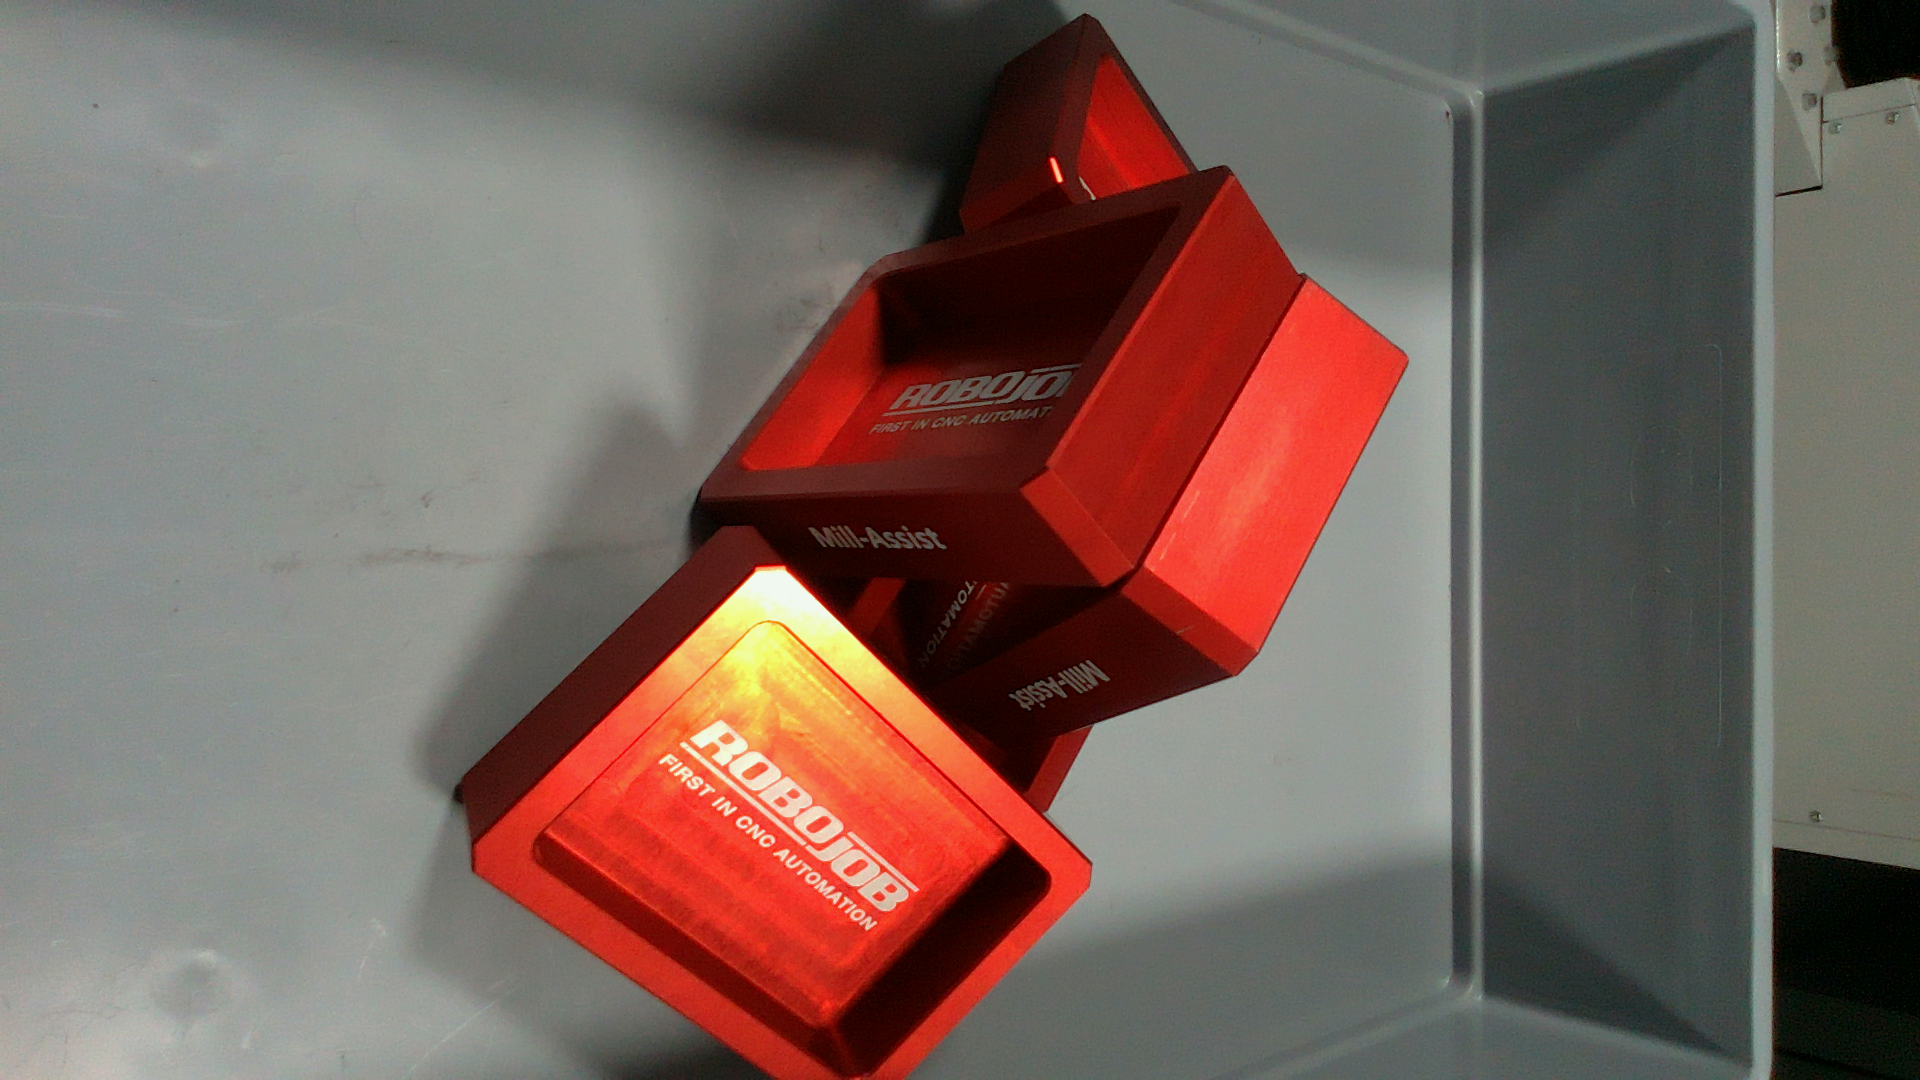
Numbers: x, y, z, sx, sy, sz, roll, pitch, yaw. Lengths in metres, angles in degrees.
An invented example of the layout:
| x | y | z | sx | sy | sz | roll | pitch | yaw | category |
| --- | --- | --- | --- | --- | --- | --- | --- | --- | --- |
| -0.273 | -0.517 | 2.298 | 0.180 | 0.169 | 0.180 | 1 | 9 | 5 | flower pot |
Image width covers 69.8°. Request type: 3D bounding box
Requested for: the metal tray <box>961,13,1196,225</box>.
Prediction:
| x | y | z | sx | sy | sz | roll | pitch | yaw | category |
| --- | --- | --- | --- | --- | --- | --- | --- | --- | --- |
| 0.057 | -0.079 | 0.409 | 0.130 | 0.030 | 0.090 | 46 | 37 | -30 | metal tray |

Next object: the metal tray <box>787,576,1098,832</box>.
| x | y | z | sx | sy | sz | roll | pitch | yaw | category |
| --- | --- | --- | --- | --- | --- | --- | --- | --- | --- |
| 0.013 | 0.009 | 0.395 | 0.090 | 0.030 | 0.130 | 47 | 62 | -30 | metal tray |

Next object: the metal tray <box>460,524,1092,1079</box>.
| x | y | z | sx | sy | sz | roll | pitch | yaw | category |
| --- | --- | --- | --- | --- | --- | --- | --- | --- | --- |
| -0.039 | 0.071 | 0.329 | 0.090 | 0.030 | 0.130 | -45 | 120 | -3 | metal tray |

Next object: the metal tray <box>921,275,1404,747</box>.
| x | y | z | sx | sy | sz | roll | pitch | yaw | category |
| --- | --- | --- | --- | --- | --- | --- | --- | --- | --- |
| 0.043 | -0.001 | 0.340 | 0.030 | 0.130 | 0.090 | 36 | 65 | -8 | metal tray |

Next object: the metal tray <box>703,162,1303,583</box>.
| x | y | z | sx | sy | sz | roll | pitch | yaw | category |
| --- | --- | --- | --- | --- | --- | --- | --- | --- | --- |
| 0.004 | -0.035 | 0.321 | 0.030 | 0.129 | 0.090 | 47 | 62 | -29 | metal tray |
